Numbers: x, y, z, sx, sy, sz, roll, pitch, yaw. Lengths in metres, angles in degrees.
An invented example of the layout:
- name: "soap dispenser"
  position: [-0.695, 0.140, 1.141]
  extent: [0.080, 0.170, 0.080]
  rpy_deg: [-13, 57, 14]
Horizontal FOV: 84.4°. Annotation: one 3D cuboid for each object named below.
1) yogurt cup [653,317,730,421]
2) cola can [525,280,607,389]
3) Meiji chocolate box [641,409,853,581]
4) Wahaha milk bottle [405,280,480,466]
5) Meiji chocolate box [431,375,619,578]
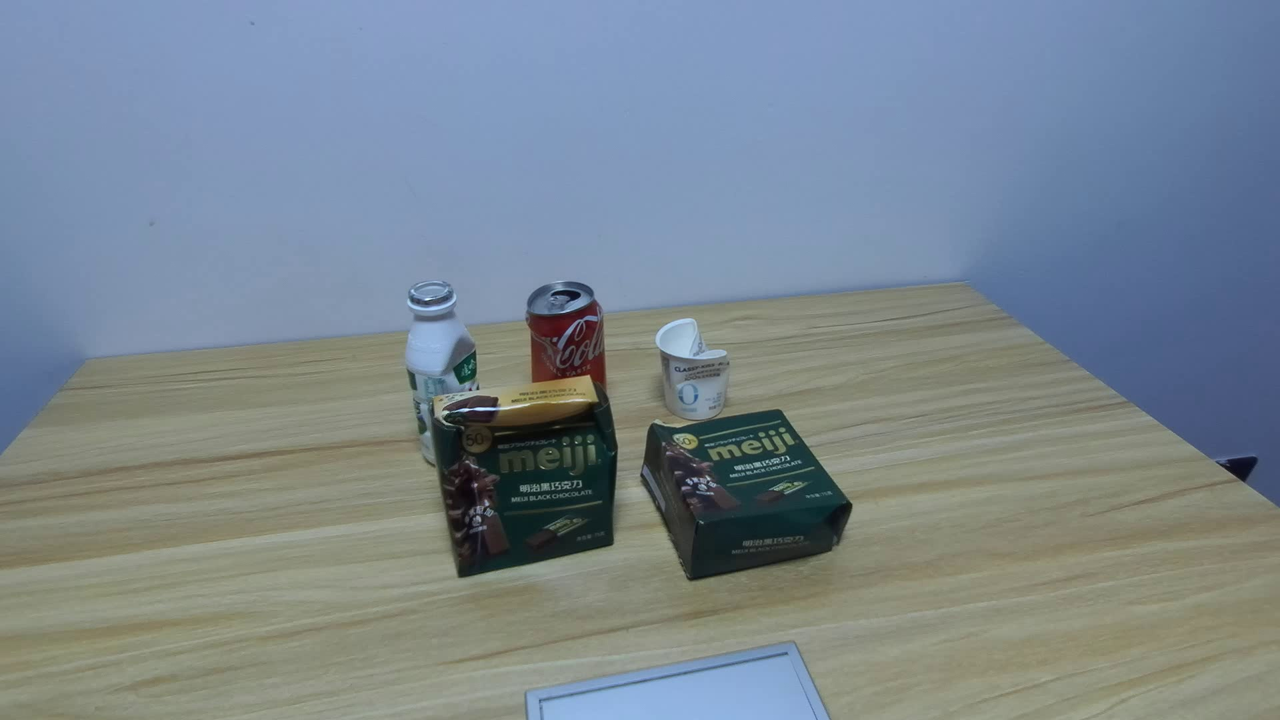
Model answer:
- name: "yogurt cup"
  position: [0.045, 0.011, 0.615]
  extent: [0.067, 0.070, 0.067]
  rpy_deg: [1, 33, -1]
- name: "cola can"
  position: [-0.059, -0.003, 0.593]
  extent: [0.066, 0.117, 0.072]
  rpy_deg: [-10, 32, -19]
- name: "Meiji chocolate box"
  position: [0.072, 0.091, 0.503]
  extent: [0.116, 0.058, 0.122]
  rpy_deg: [-5, 32, -16]
- name: "Wahaha milk bottle"
  position: [-0.150, 0.013, 0.542]
  extent: [0.056, 0.148, 0.056]
  rpy_deg: [1, 29, 0]
- name: "Meiji chocolate box"
  position: [-0.075, 0.074, 0.476]
  extent: [0.117, 0.117, 0.051]
  rpy_deg: [-8, 24, -13]
